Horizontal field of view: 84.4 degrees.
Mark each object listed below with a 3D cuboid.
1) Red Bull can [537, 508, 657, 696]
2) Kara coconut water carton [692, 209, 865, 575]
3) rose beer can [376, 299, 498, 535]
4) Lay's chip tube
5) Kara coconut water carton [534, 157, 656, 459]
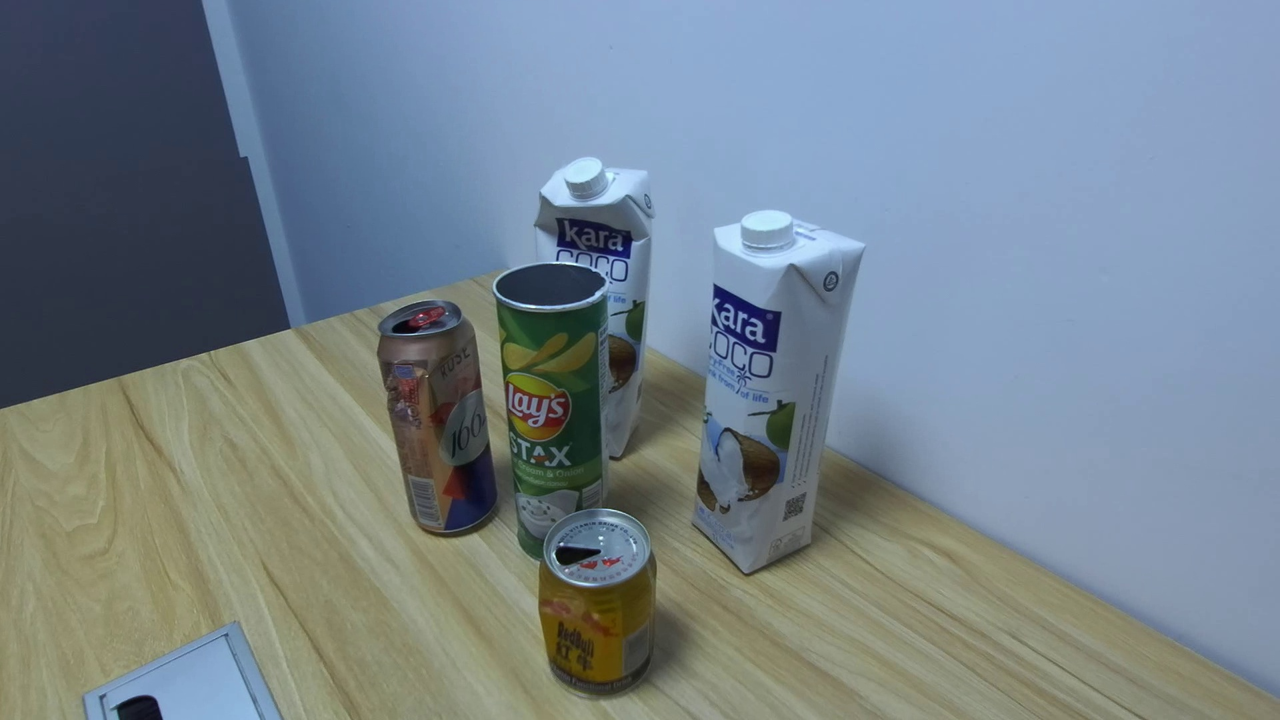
[{"bbox_3d":[-0.024,0.140,0.410,0.069,0.092,0.069,1,32,0],"label":"Red Bull can"},{"bbox_3d":[0.084,0.022,0.465,0.075,0.245,0.076,-16,33,-29],"label":"Kara coconut water carton"},{"bbox_3d":[-0.146,0.044,0.511,0.065,0.167,0.076,11,32,23],"label":"rose beer can"},{"bbox_3d":[-0.054,0.039,0.473,0.071,0.203,0.071,0,31,0],"label":"Lay's chip tube"},{"bbox_3d":[-0.034,-0.042,0.573,0.099,0.244,0.071,6,27,13],"label":"Kara coconut water carton"}]
